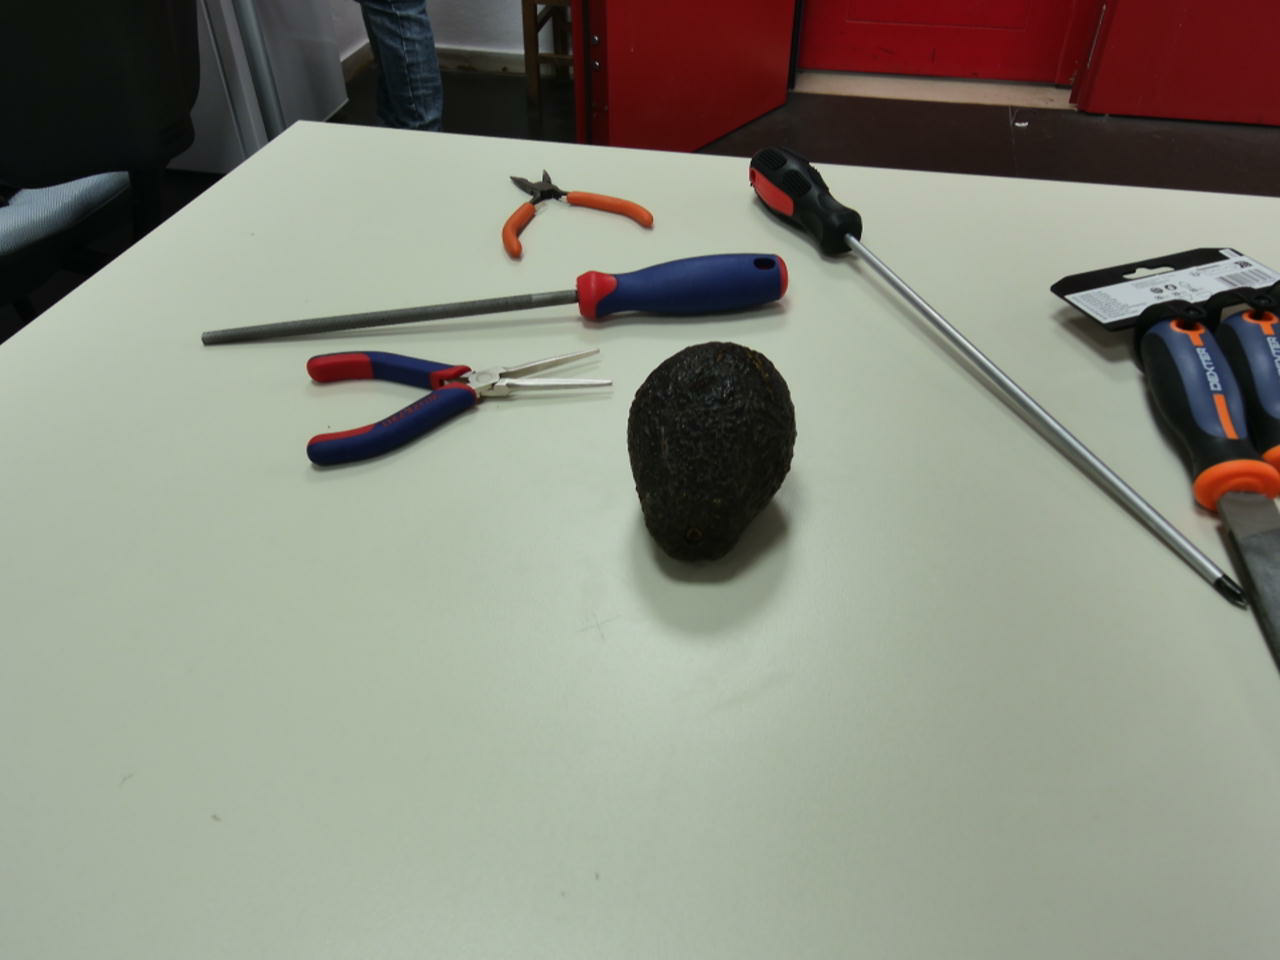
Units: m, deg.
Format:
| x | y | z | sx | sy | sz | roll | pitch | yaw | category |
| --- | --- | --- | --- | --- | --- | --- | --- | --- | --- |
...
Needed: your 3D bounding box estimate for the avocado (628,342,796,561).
| x | y | z | sx | sy | sz | roll | pitch | yaw | category |
| --- | --- | --- | --- | --- | --- | --- | --- | --- | --- |
| 0.026 | -0.017 | 0.410 | 0.070 | 0.069 | 0.090 | 26 | 45 | 30 | avocado |
